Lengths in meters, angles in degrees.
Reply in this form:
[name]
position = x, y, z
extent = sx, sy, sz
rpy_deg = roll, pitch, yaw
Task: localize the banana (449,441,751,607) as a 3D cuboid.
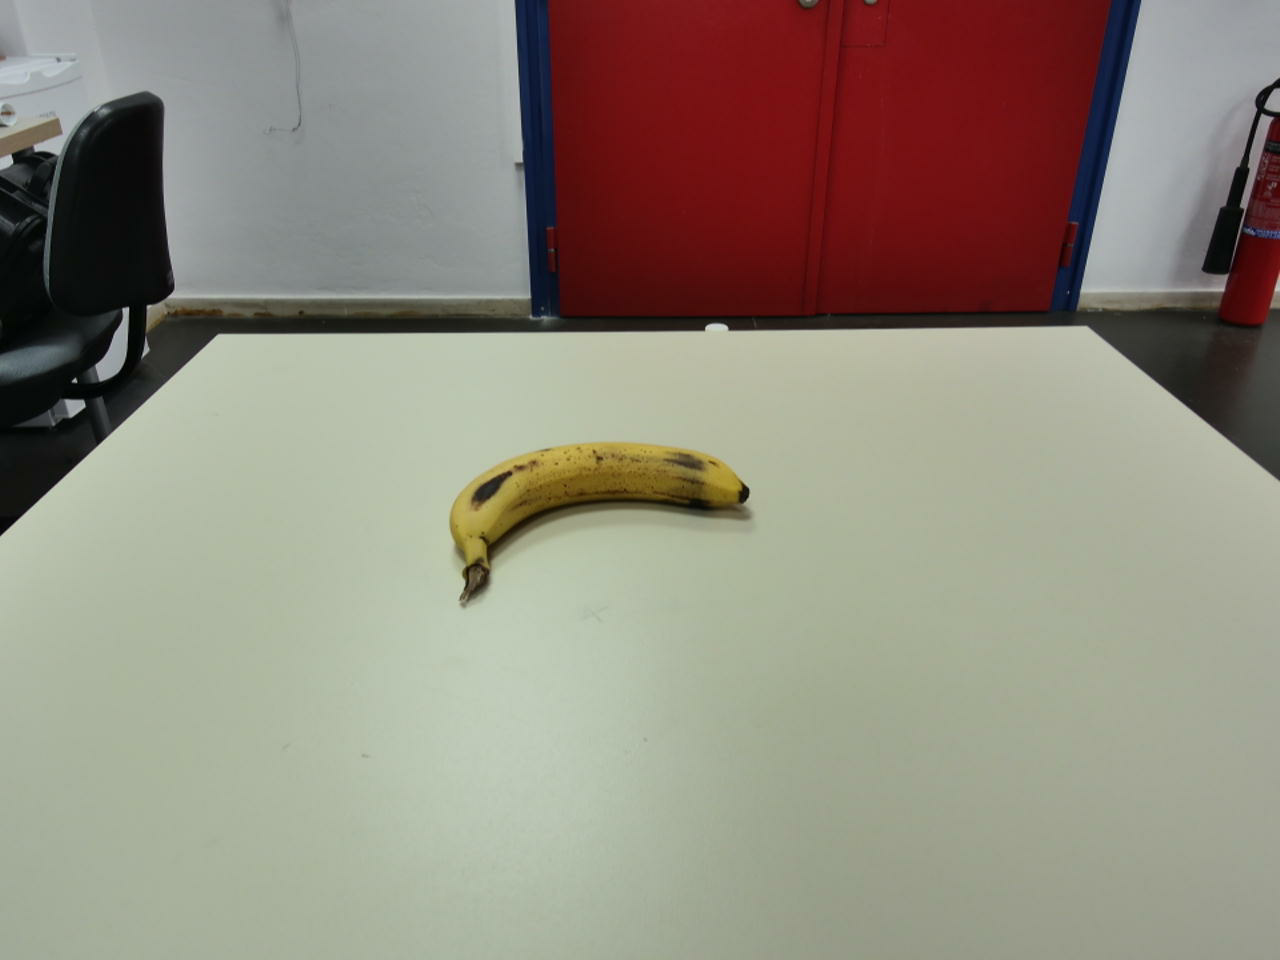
[banana]
position = -0.034, 0.010, 0.613
extent = 0.186, 0.038, 0.097
rpy_deg = -14, 29, -25
